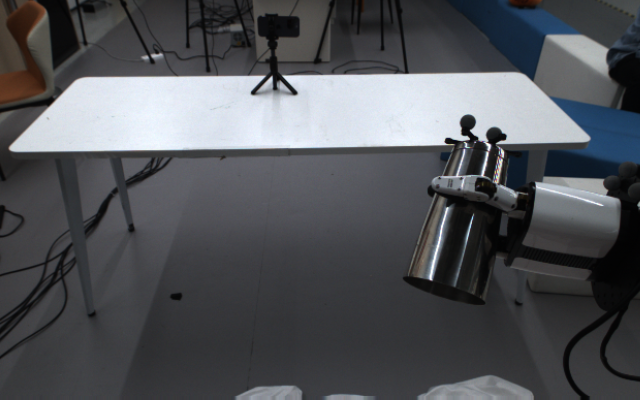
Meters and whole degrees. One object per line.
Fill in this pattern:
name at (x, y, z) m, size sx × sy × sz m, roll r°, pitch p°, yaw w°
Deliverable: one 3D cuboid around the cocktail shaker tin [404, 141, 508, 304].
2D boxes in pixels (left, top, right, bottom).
cocktail shaker tin at (0.164, 0.022, 0.549) m, size 0.093 × 0.093 × 0.170 m, roll 15°, pitch 74°, yaw 18°
